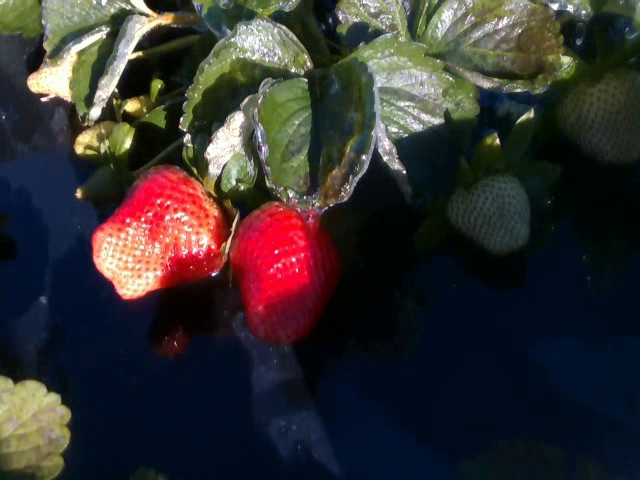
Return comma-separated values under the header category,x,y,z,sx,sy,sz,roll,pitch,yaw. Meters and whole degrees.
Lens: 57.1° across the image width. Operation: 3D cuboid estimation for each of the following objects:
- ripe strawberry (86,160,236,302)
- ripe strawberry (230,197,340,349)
category,x,y,z,sx,sy,sz,roll,pitch,yaw
ripe strawberry,-0.067,0.000,0.247,0.052,0.070,0.040,35,-16,9
ripe strawberry,-0.017,0.009,0.227,0.043,0.059,0.040,-12,-22,4
